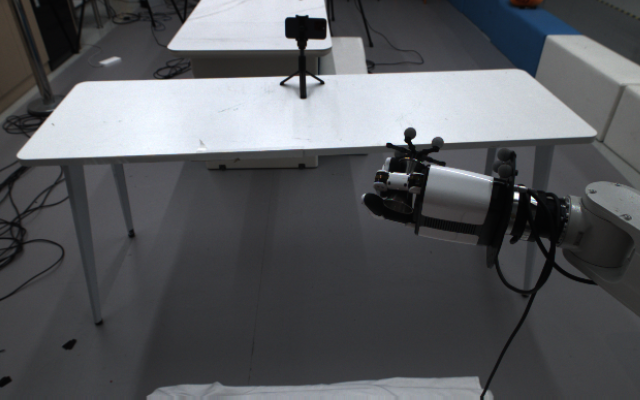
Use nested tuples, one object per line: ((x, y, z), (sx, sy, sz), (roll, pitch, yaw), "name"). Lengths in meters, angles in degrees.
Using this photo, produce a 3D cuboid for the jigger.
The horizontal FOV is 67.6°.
((0.120, -0.023, 0.679), (0.043, 0.043, 0.071), (16, 70, 19), "jigger")
